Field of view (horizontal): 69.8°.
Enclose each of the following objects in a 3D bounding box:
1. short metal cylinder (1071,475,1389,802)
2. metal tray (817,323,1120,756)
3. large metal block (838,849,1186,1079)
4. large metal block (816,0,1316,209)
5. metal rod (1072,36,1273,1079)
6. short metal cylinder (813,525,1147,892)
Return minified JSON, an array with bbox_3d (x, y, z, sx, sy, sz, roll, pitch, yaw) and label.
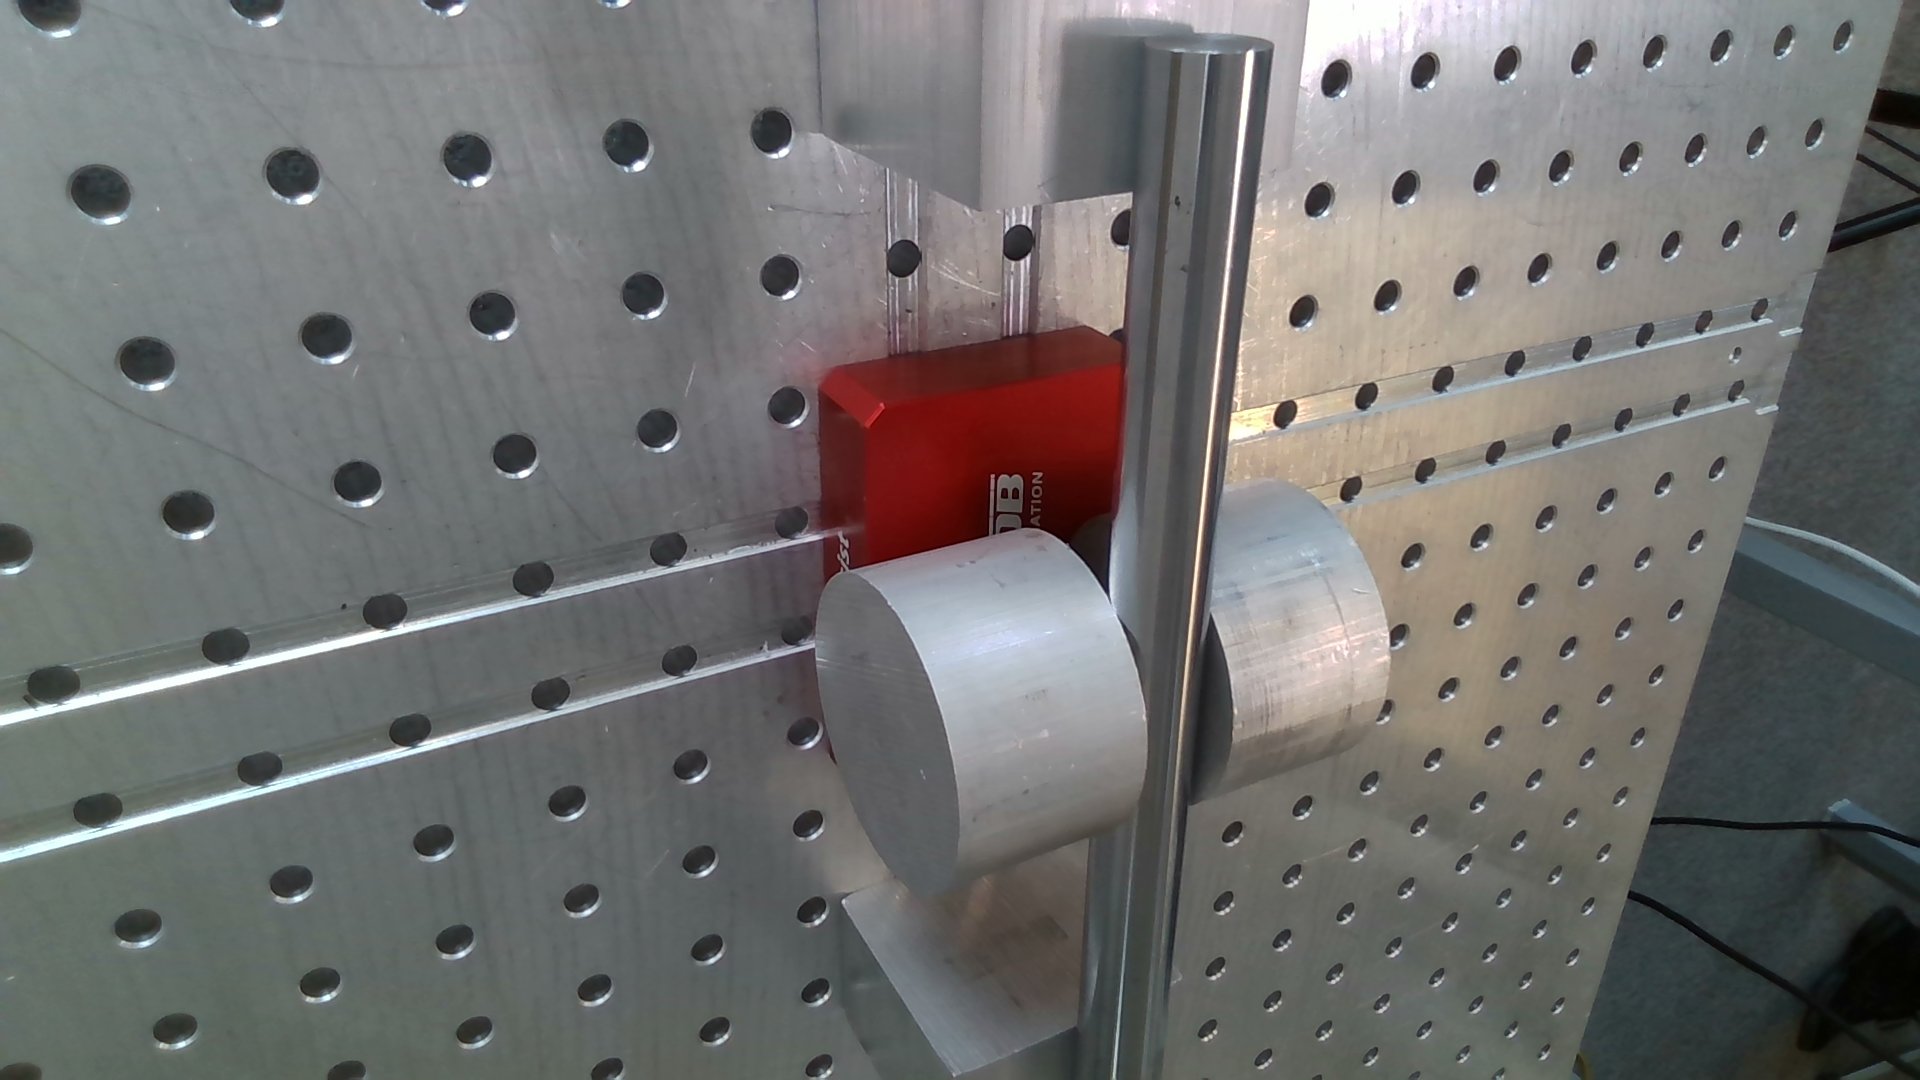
[{"bbox_3d":[0.069,0.026,0.375,0.050,0.080,0.080,-14,121,-25],"label":"short metal cylinder"},{"bbox_3d":[0.007,0.009,0.399,0.090,0.030,0.130,-13,121,-25],"label":"metal tray"},{"bbox_3d":[0.014,0.146,0.444,0.080,0.080,0.050,-14,121,-25],"label":"large metal block"},{"bbox_3d":[0.021,-0.113,0.308,0.080,0.080,0.050,-14,121,-25],"label":"large metal block"},{"bbox_3d":[0.046,0.036,0.337,0.025,0.025,0.301,-14,121,-25],"label":"metal rod"},{"bbox_3d":[0.002,0.041,0.342,0.050,0.080,0.080,-14,121,-25],"label":"short metal cylinder"}]
